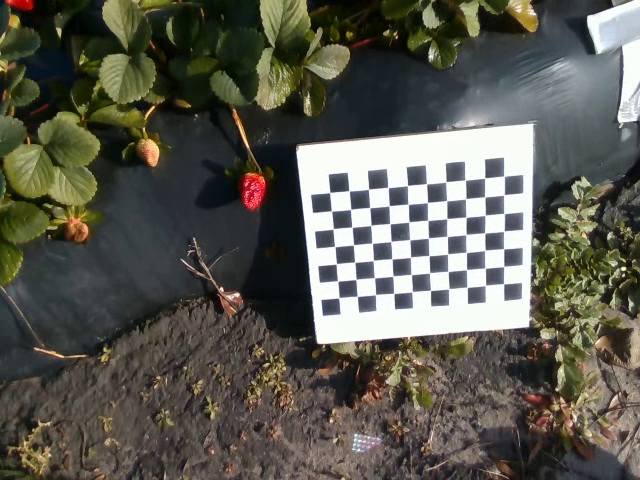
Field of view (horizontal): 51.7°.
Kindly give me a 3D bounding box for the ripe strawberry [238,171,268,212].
[{"bbox_3d":[-0.030,-0.023,0.285,0.015,0.023,0.015,3,-34,-3],"label":"ripe strawberry"}]
